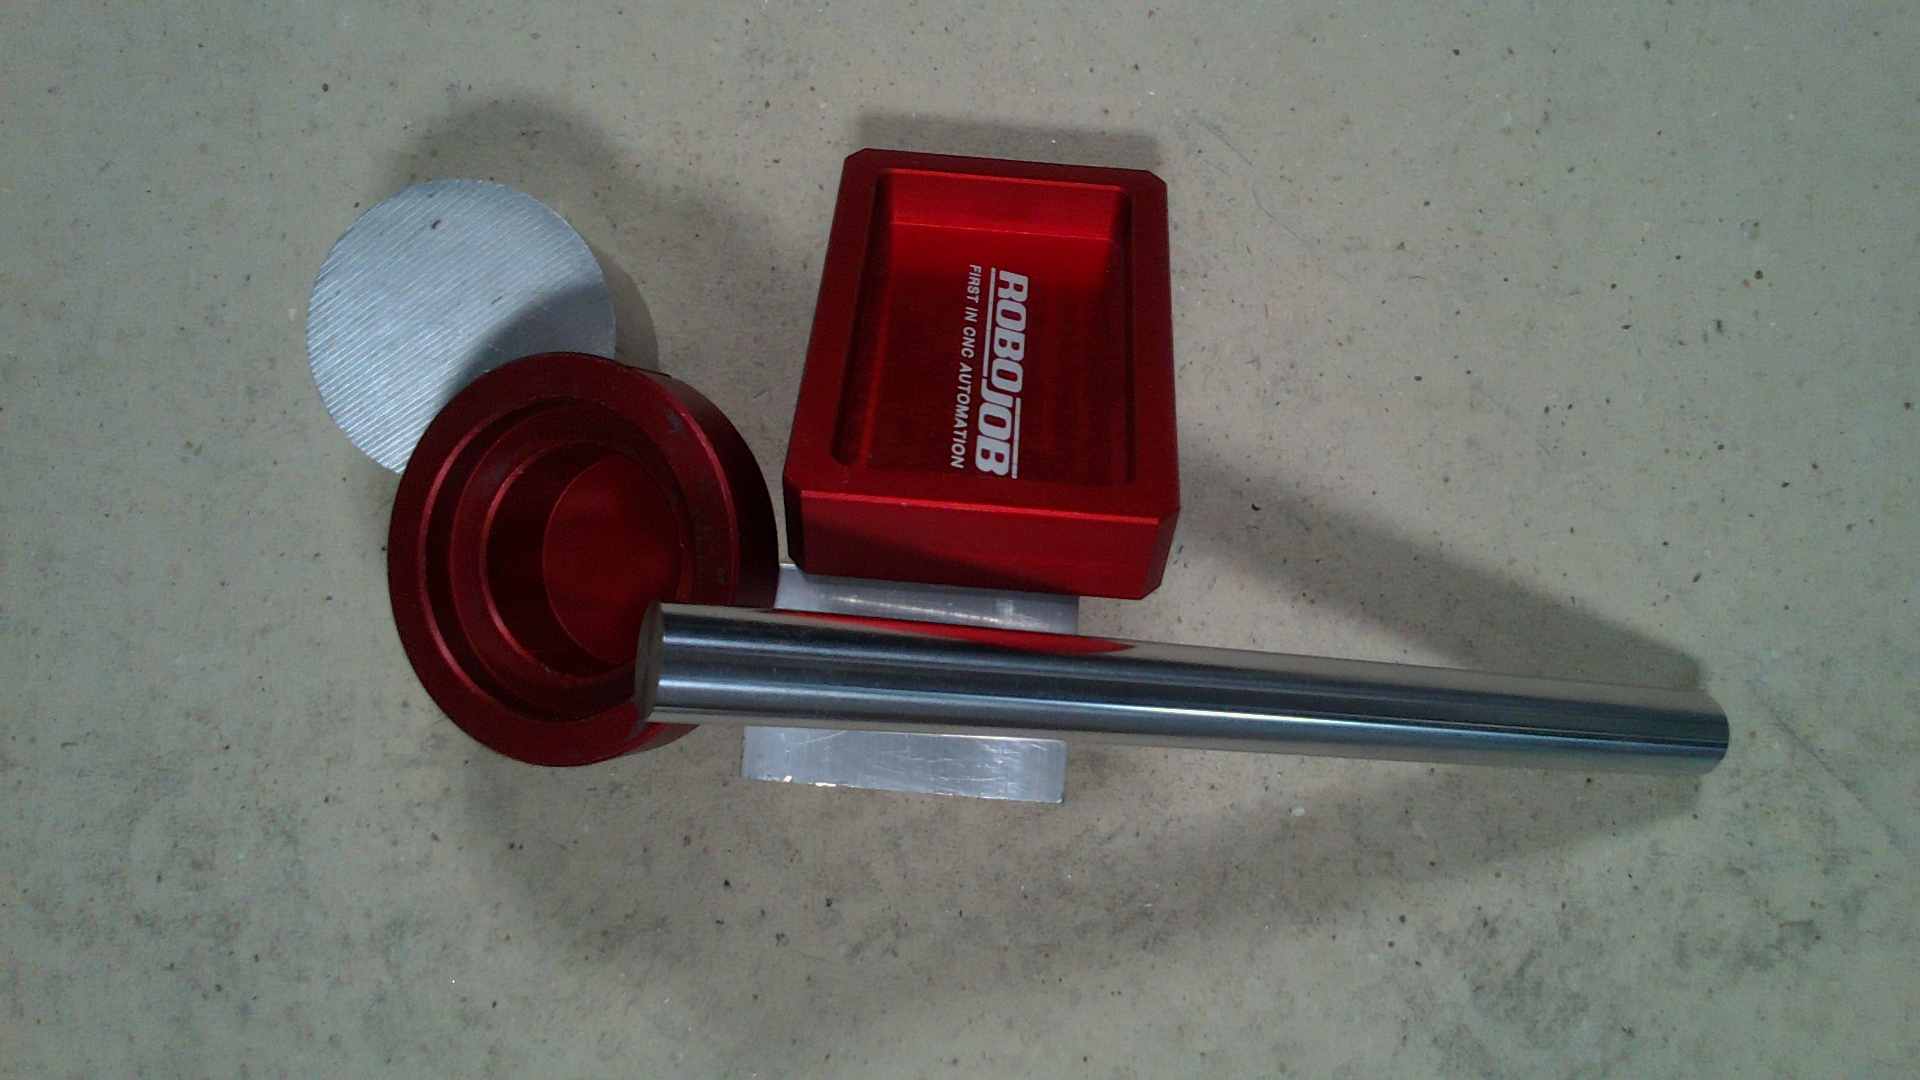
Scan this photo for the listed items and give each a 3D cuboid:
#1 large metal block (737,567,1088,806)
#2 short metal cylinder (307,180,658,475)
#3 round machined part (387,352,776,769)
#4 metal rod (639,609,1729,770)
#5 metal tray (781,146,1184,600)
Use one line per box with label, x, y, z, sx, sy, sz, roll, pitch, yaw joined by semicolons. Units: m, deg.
large metal block;-0.011;0.035;0.368;0.080;0.080;0.050;5;90;0
short metal cylinder;-0.130;-0.054;0.382;0.080;0.050;0.080;0;90;0
round machined part;-0.089;0.005;0.343;0.098;0.042;0.098;0;89;20
metal rod;0.075;0.040;0.337;0.301;0.025;0.025;6;90;-24
metal tray;0.008;-0.048;0.355;0.090;0.030;0.130;5;51;0
